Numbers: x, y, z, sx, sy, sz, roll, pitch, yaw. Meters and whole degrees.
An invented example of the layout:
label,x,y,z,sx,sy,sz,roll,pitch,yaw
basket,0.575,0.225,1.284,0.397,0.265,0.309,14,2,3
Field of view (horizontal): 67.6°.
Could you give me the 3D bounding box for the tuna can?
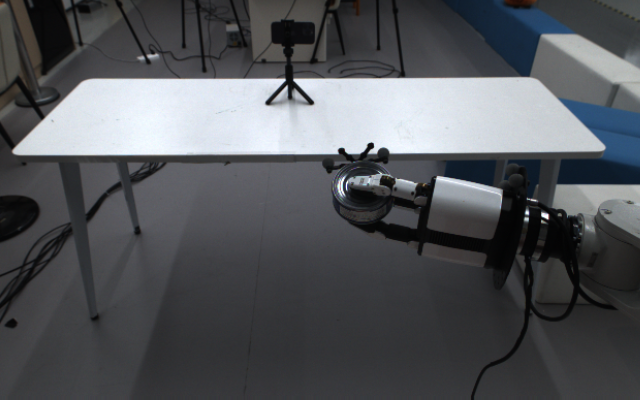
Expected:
label,x,y,z,sx,sy,sz,roll,pitch,yaw
tuna can,0.064,-0.005,0.658,0.085,0.034,0.085,-3,59,5
